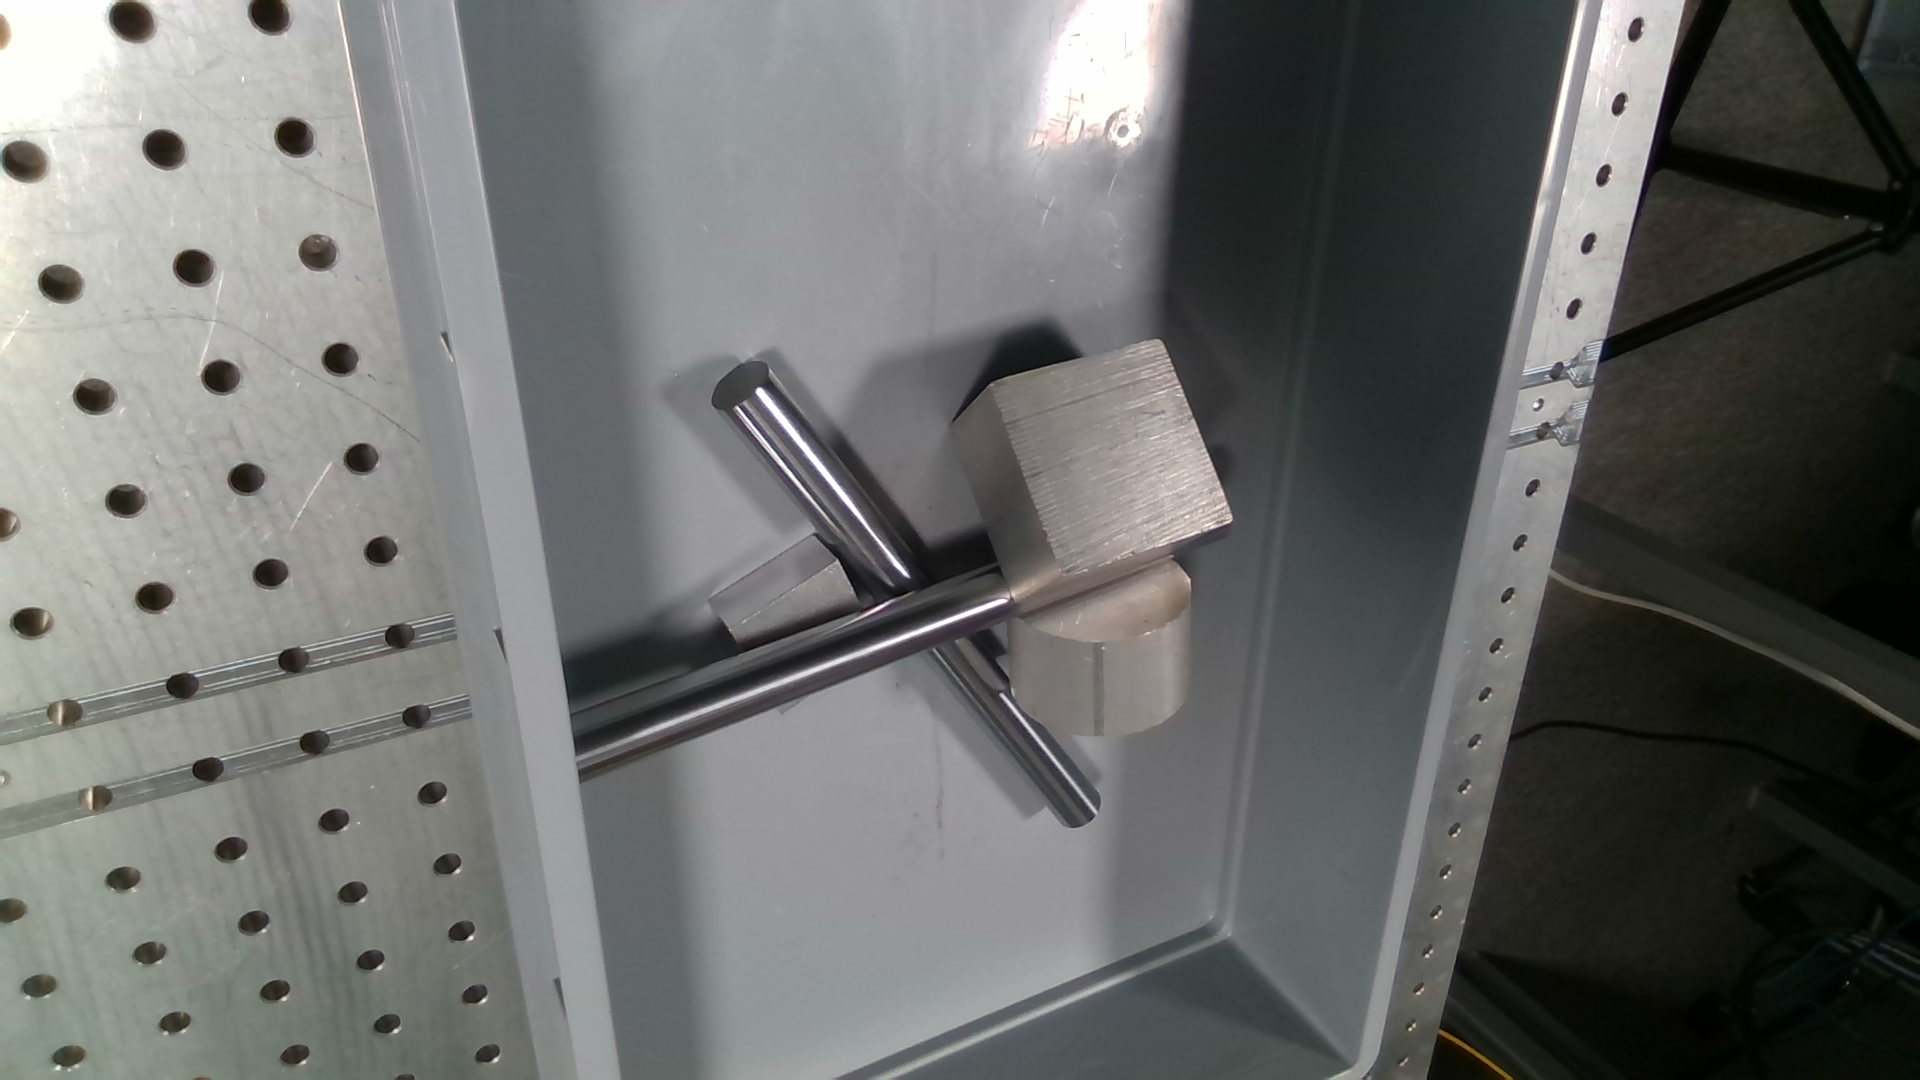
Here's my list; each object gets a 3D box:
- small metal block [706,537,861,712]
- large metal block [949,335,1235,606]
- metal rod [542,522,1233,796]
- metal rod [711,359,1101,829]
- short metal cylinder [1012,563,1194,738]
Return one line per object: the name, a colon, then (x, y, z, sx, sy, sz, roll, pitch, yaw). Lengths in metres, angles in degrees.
small metal block: (-0.067, 0.034, 0.557, 0.050, 0.025, 0.050, -33, 128, -13)
large metal block: (0.051, -0.028, 0.555, 0.080, 0.050, 0.080, -18, 82, -23)
metal rod: (-0.016, 0.035, 0.555, 0.300, 0.025, 0.025, -19, 123, -23)
metal rod: (-0.011, 0.038, 0.593, 0.025, 0.025, 0.301, -41, 129, -6)
short metal cylinder: (0.061, 0.042, 0.603, 0.080, 0.080, 0.050, -18, 124, -22)
